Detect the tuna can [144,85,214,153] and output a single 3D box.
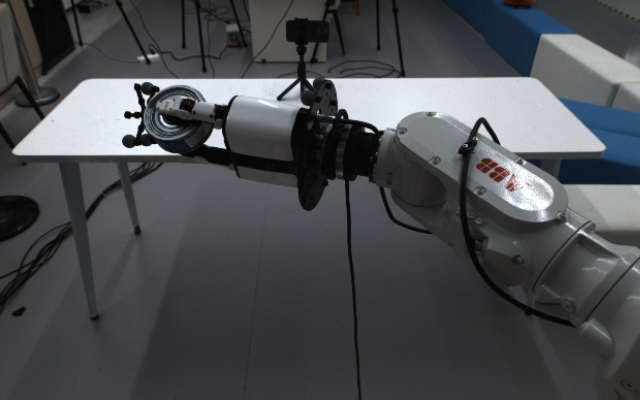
[{"bbox_3d":[-0.181,-0.103,0.627,0.085,0.034,0.085,-2,70,6],"label":"tuna can"}]
